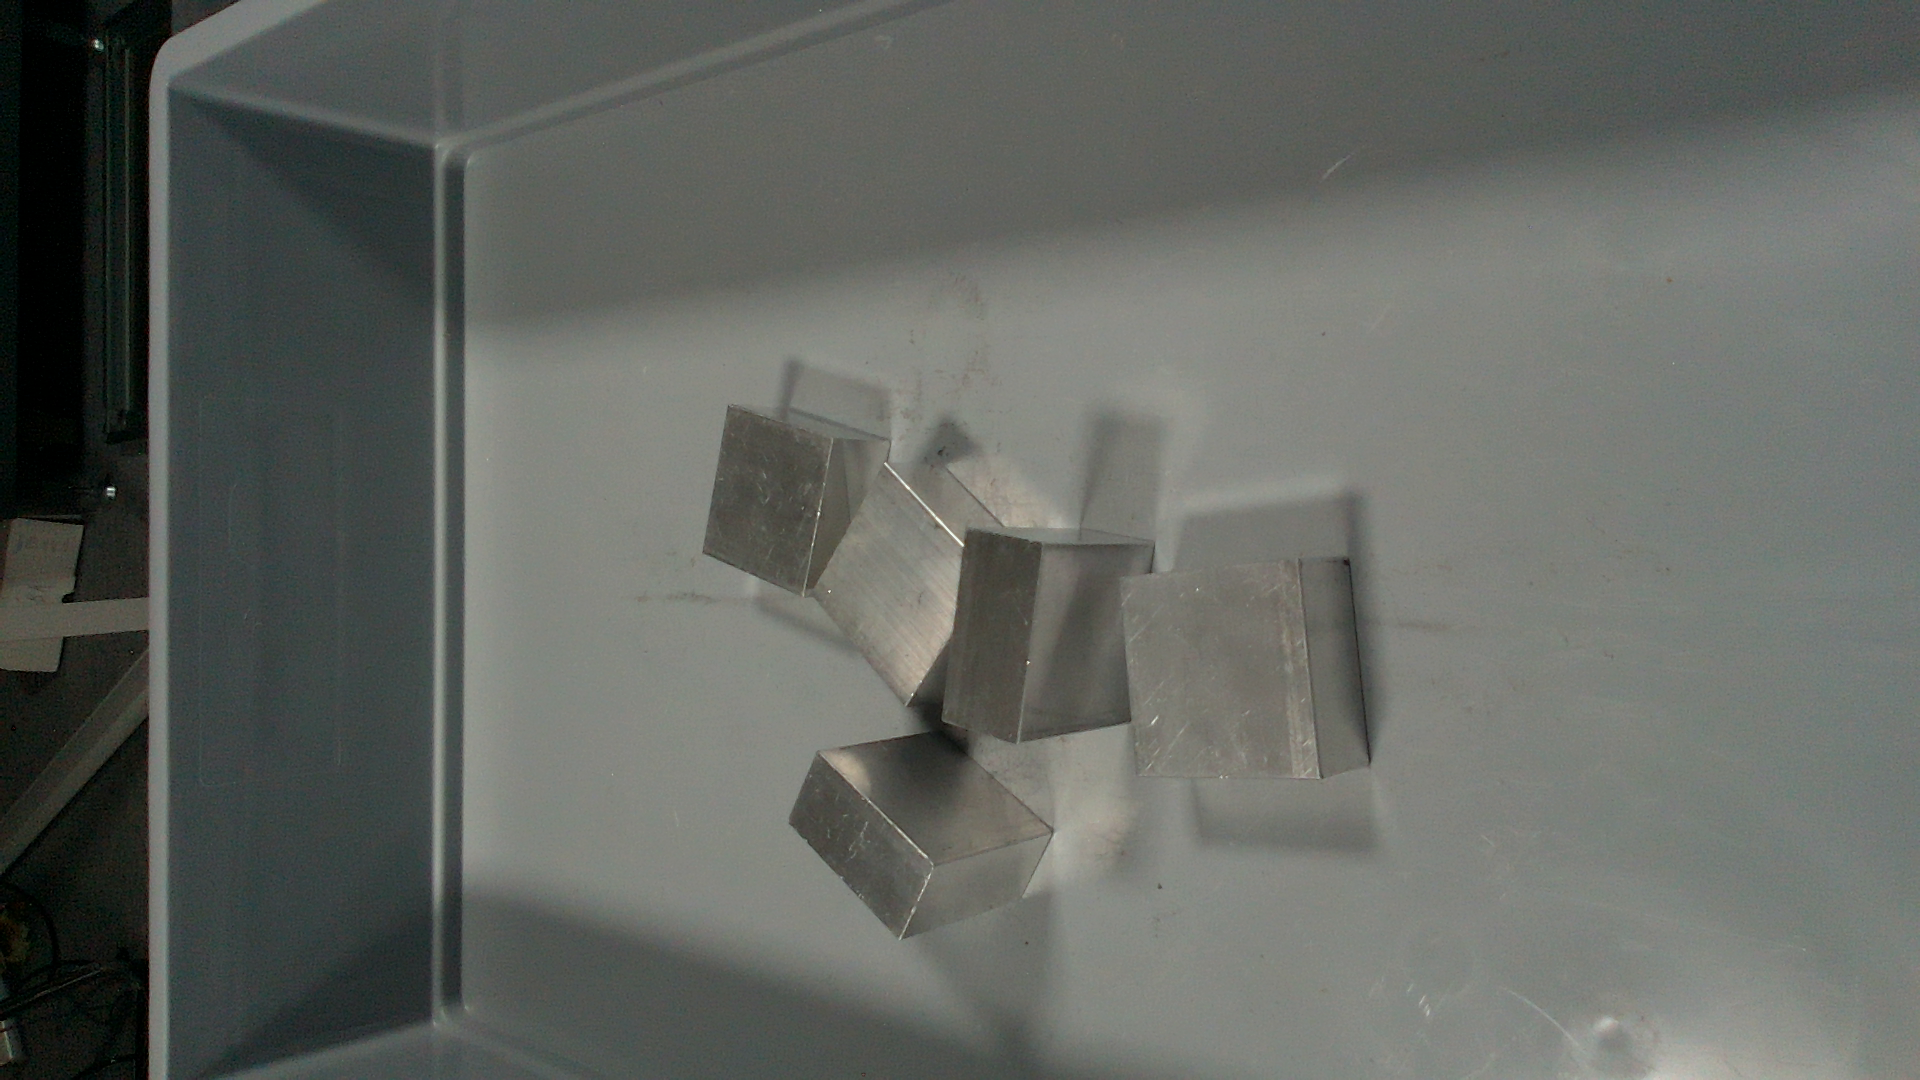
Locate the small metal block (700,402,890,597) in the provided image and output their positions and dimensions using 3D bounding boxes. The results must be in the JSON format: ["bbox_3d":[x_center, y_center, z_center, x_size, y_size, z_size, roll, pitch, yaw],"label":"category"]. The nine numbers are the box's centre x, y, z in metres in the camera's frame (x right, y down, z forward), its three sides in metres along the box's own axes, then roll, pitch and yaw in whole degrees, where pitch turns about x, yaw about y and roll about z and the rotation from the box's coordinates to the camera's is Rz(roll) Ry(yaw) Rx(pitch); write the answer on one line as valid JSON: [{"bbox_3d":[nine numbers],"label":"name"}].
[{"bbox_3d":[-0.053,-0.013,0.437,0.050,0.025,0.050,19,102,38],"label":"small metal block"}]

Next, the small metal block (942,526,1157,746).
[{"bbox_3d":[0.024,0.023,0.357,0.025,0.050,0.050,12,98,39],"label":"small metal block"}]

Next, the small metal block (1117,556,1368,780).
[{"bbox_3d":[0.068,0.031,0.335,0.050,0.025,0.050,-8,85,40],"label":"small metal block"}]

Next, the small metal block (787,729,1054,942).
[{"bbox_3d":[-0.011,0.080,0.385,0.050,0.050,0.025,37,114,33],"label":"small metal block"}]

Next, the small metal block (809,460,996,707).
[{"bbox_3d":[-0.011,0.012,0.401,0.050,0.025,0.050,46,118,30],"label":"small metal block"}]
